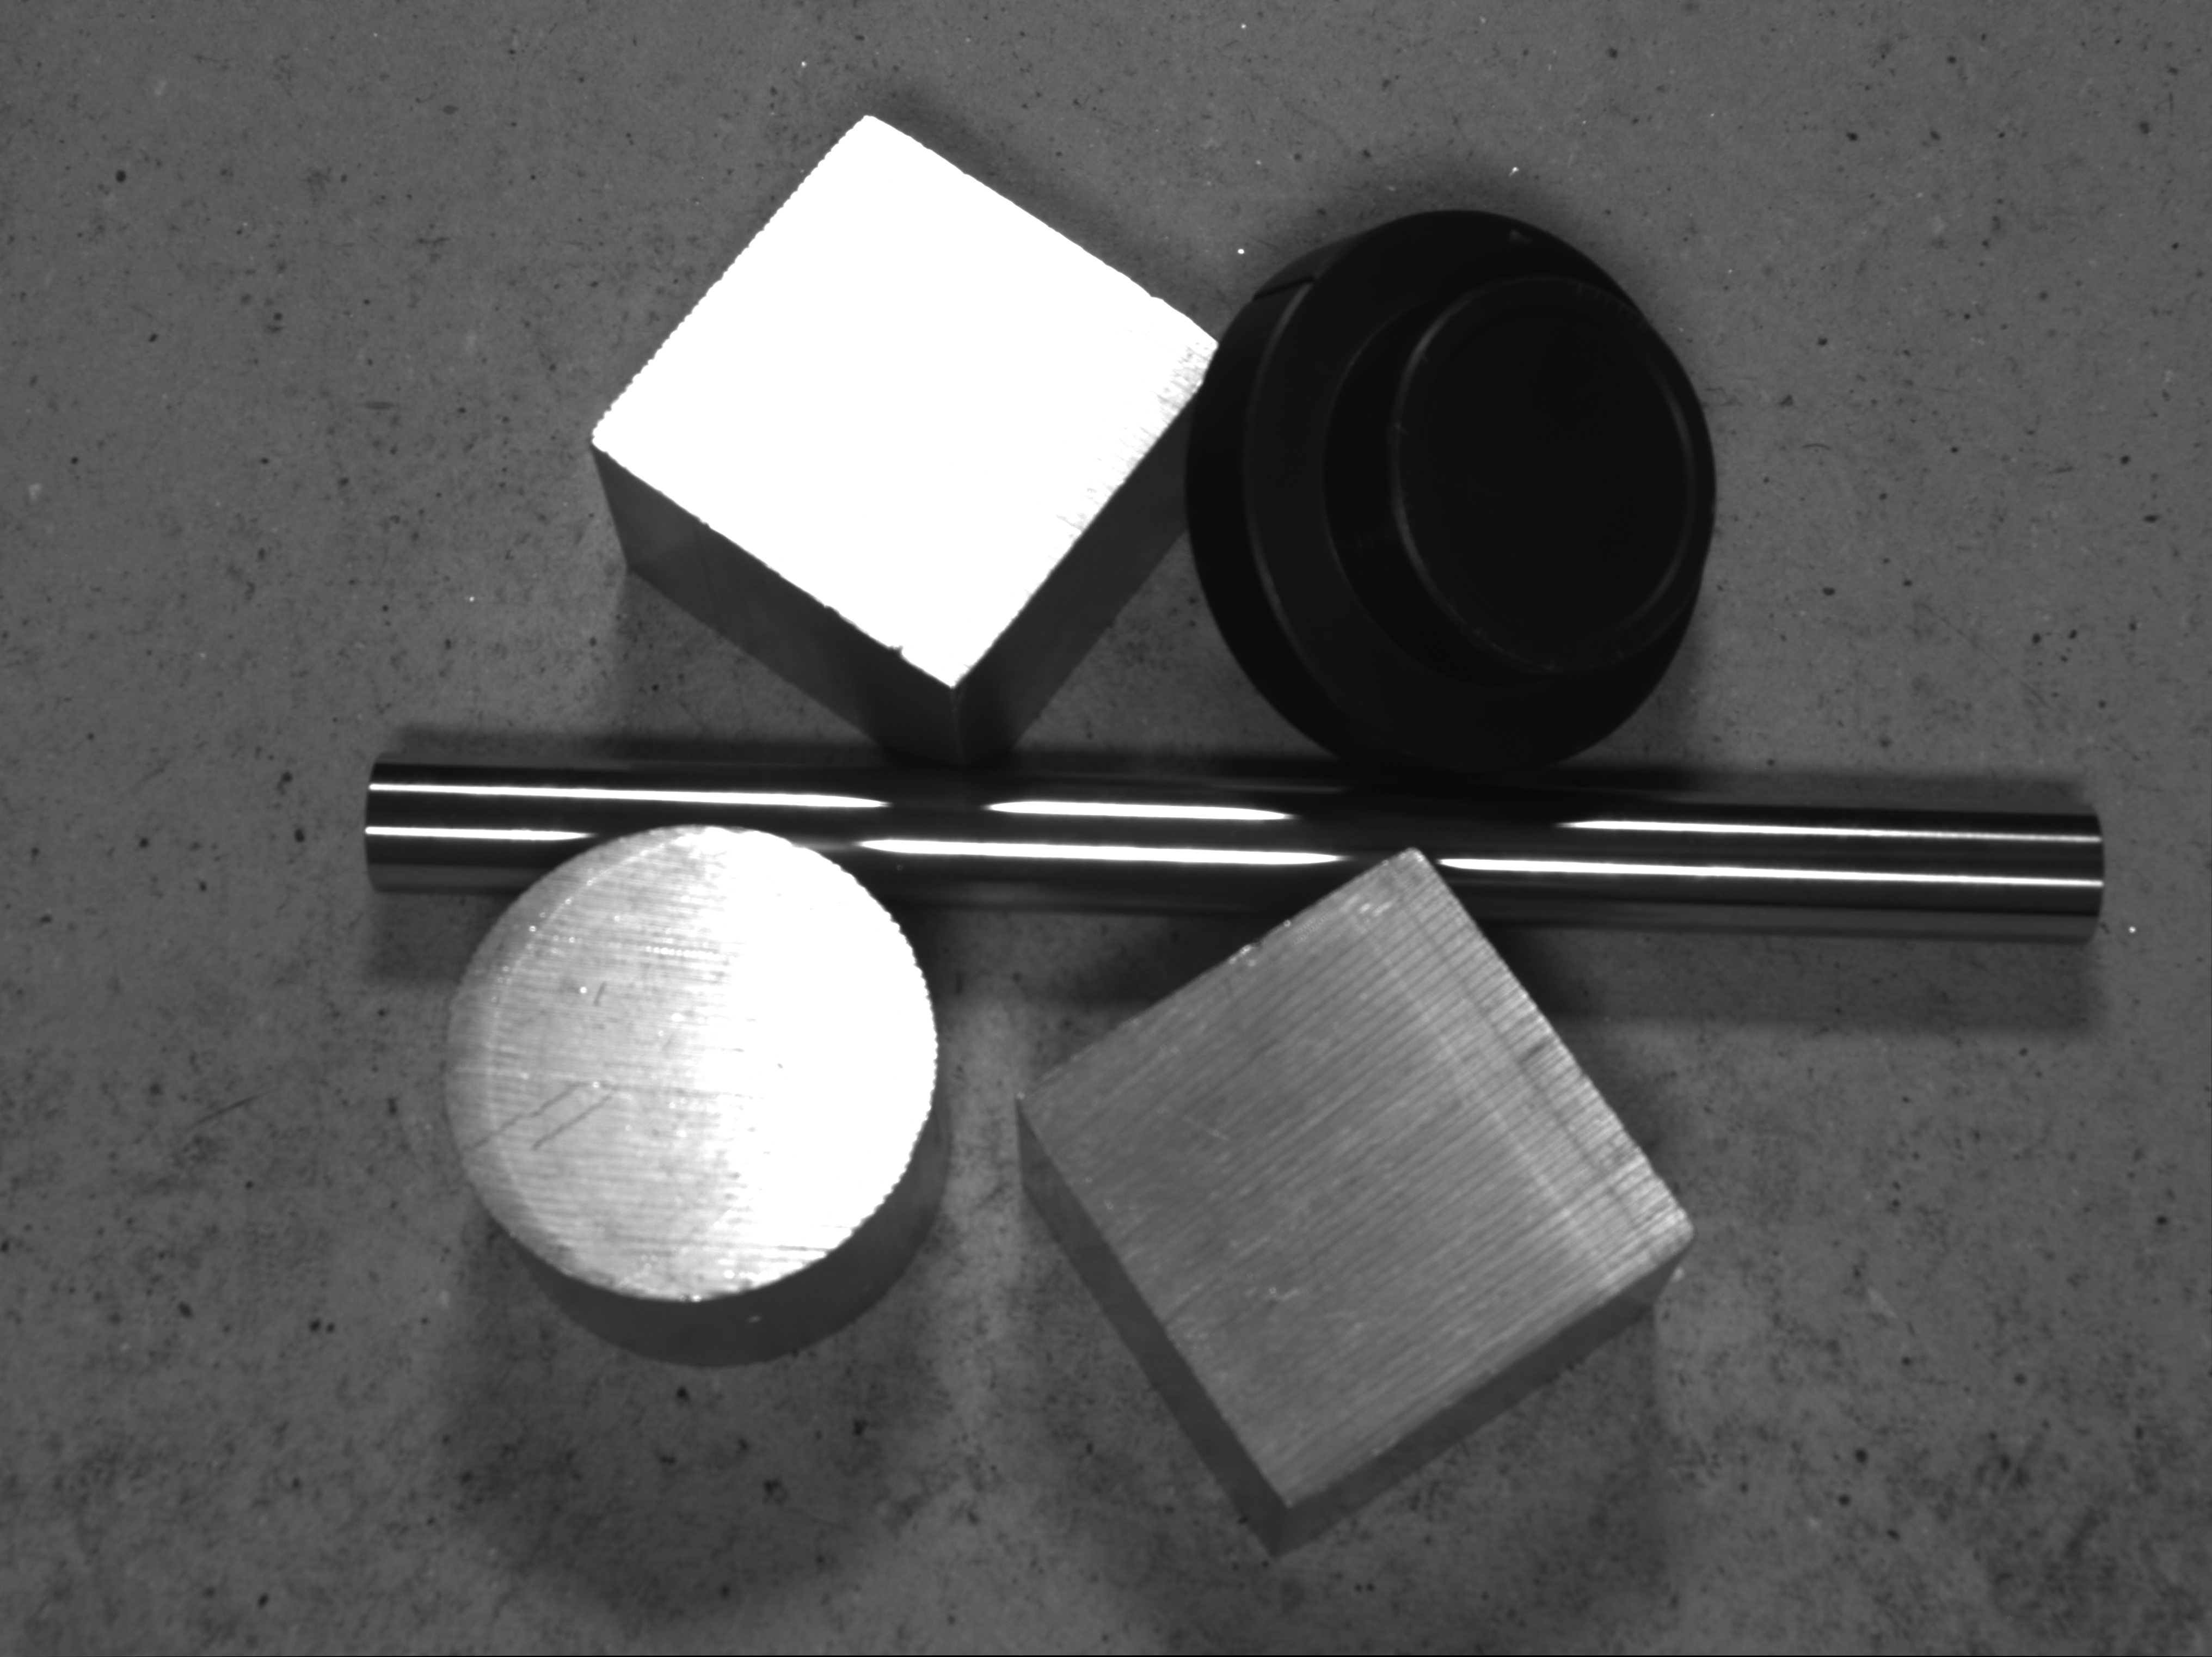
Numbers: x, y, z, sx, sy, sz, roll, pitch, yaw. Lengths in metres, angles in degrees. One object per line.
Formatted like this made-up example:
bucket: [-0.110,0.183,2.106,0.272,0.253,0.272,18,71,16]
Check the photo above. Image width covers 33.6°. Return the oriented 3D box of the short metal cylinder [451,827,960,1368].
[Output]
short metal cylinder: [-0.066,0.046,0.615,0.080,0.050,0.080,0,70,0]

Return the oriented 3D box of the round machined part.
round machined part: [0.067,-0.059,0.633,0.098,0.042,0.098,2,85,-27]

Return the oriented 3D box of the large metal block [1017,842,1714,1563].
large metal block: [0.041,0.063,0.608,0.080,0.050,0.080,-31,73,-11]

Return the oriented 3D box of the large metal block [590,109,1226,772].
large metal block: [-0.032,-0.066,0.654,0.080,0.050,0.080,35,74,12]

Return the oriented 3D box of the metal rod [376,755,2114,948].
metal rod: [0.024,0.004,0.645,0.300,0.025,0.025,2,70,1]
